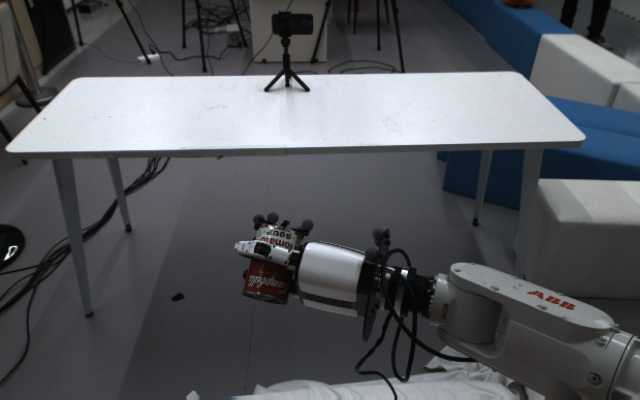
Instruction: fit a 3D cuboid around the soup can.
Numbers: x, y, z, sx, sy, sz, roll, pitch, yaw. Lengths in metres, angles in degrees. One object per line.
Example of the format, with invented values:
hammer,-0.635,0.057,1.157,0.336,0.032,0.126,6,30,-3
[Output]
soup can,-0.069,0.095,0.703,0.067,0.067,0.101,9,71,9
